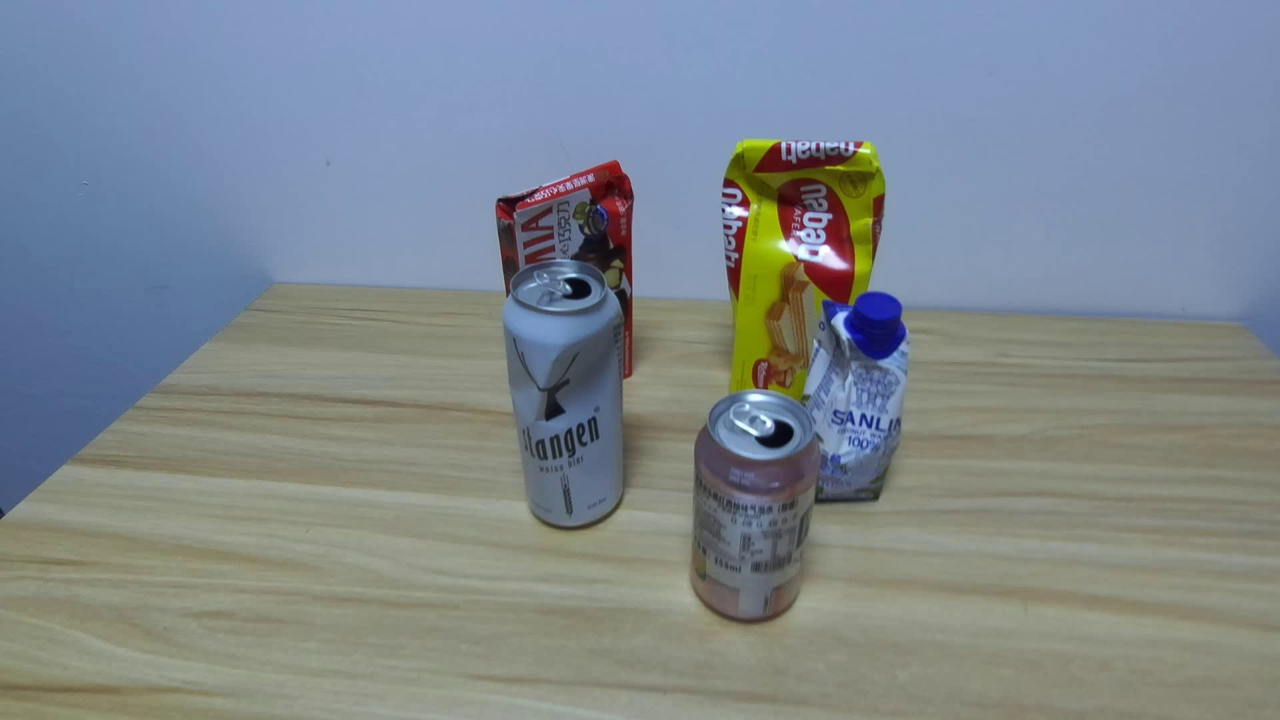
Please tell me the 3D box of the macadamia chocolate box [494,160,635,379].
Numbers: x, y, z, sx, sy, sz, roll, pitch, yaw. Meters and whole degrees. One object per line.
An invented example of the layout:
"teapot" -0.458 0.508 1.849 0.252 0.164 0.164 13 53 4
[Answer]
"macadamia chocolate box" -0.051 -0.052 0.537 0.103 0.187 0.027 -21 44 -26

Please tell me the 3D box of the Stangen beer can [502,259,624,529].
"Stangen beer can" -0.044 0.026 0.439 0.070 0.173 0.069 1 35 4

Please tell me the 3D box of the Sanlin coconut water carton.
"Sanlin coconut water carton" 0.142 0.020 0.468 0.057 0.144 0.068 1 27 -7

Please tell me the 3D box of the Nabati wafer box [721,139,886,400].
"Nabati wafer box" 0.116 -0.059 0.527 0.113 0.205 0.042 2 32 7

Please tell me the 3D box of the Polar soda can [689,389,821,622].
"Polar soda can" 0.063 0.081 0.393 0.067 0.126 0.067 -1 35 1
